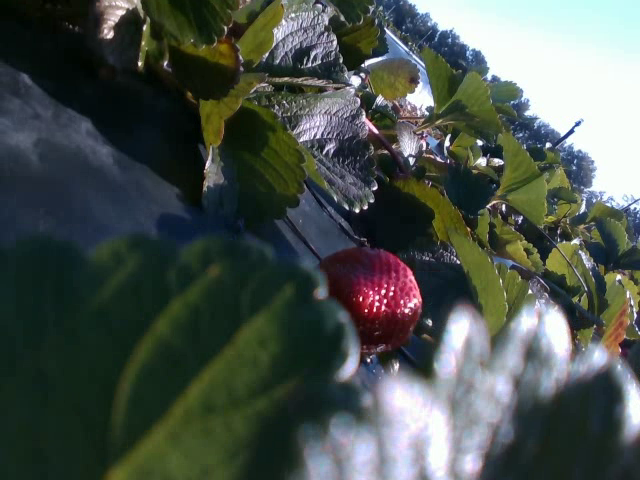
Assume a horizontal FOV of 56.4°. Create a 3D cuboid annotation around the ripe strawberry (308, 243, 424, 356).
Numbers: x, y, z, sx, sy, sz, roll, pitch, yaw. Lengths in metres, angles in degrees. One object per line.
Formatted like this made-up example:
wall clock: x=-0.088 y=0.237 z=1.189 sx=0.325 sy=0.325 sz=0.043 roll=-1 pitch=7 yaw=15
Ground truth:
ripe strawberry: x=0.013 y=0.020 z=0.194 sx=0.044 sy=0.042 sz=0.056 roll=1 pitch=-8 yaw=20
